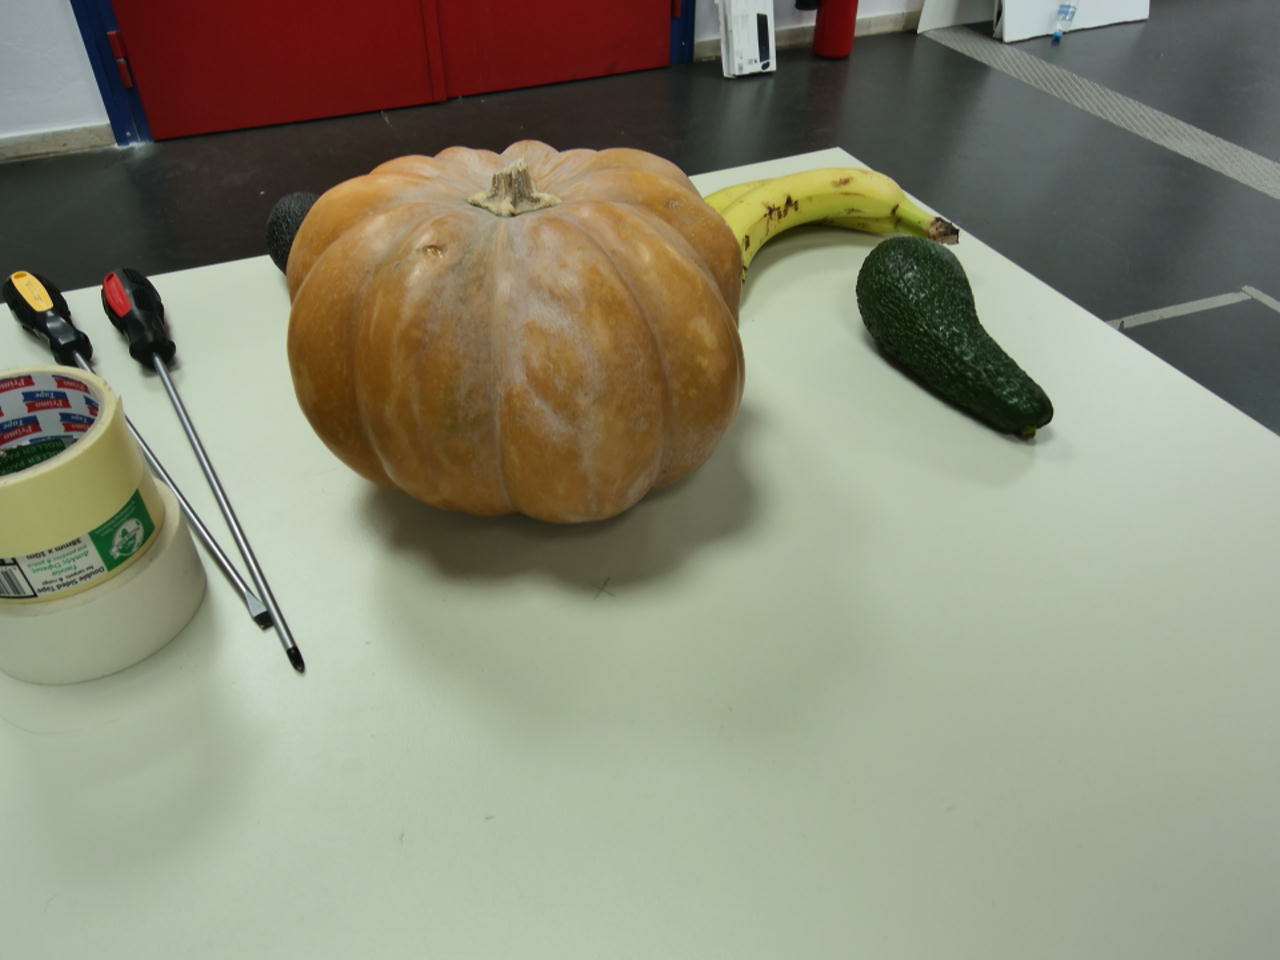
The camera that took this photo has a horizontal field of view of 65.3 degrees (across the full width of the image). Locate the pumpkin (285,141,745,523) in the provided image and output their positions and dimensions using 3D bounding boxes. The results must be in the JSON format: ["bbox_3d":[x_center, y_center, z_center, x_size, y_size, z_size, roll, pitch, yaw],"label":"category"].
[{"bbox_3d":[-0.066,-0.089,0.570,0.277,0.181,0.277,0,39,0],"label":"pumpkin"}]
